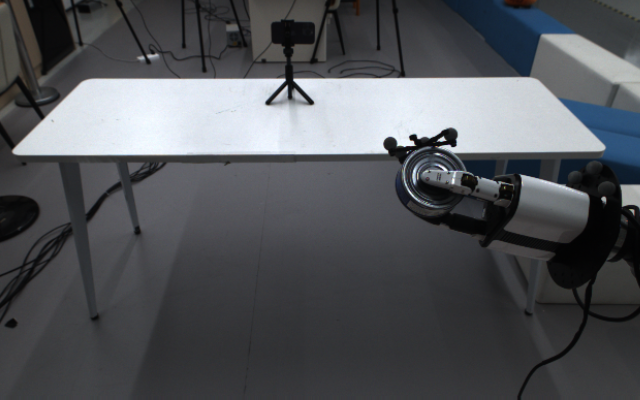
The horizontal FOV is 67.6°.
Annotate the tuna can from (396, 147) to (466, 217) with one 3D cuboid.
[{"bbox_3d":[0.142,-0.026,0.604,0.085,0.034,0.085,0,73,-1],"label":"tuna can"}]
